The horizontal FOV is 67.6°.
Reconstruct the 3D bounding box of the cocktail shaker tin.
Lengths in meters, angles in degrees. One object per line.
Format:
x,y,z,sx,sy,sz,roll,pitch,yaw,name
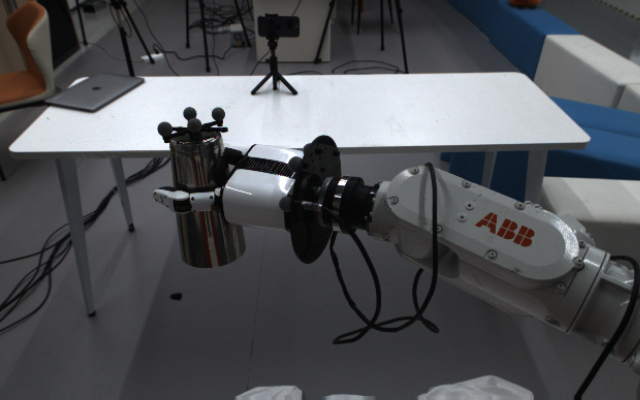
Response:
-0.153,-0.006,0.651,0.093,0.170,0.093,-3,26,1,cocktail shaker tin
